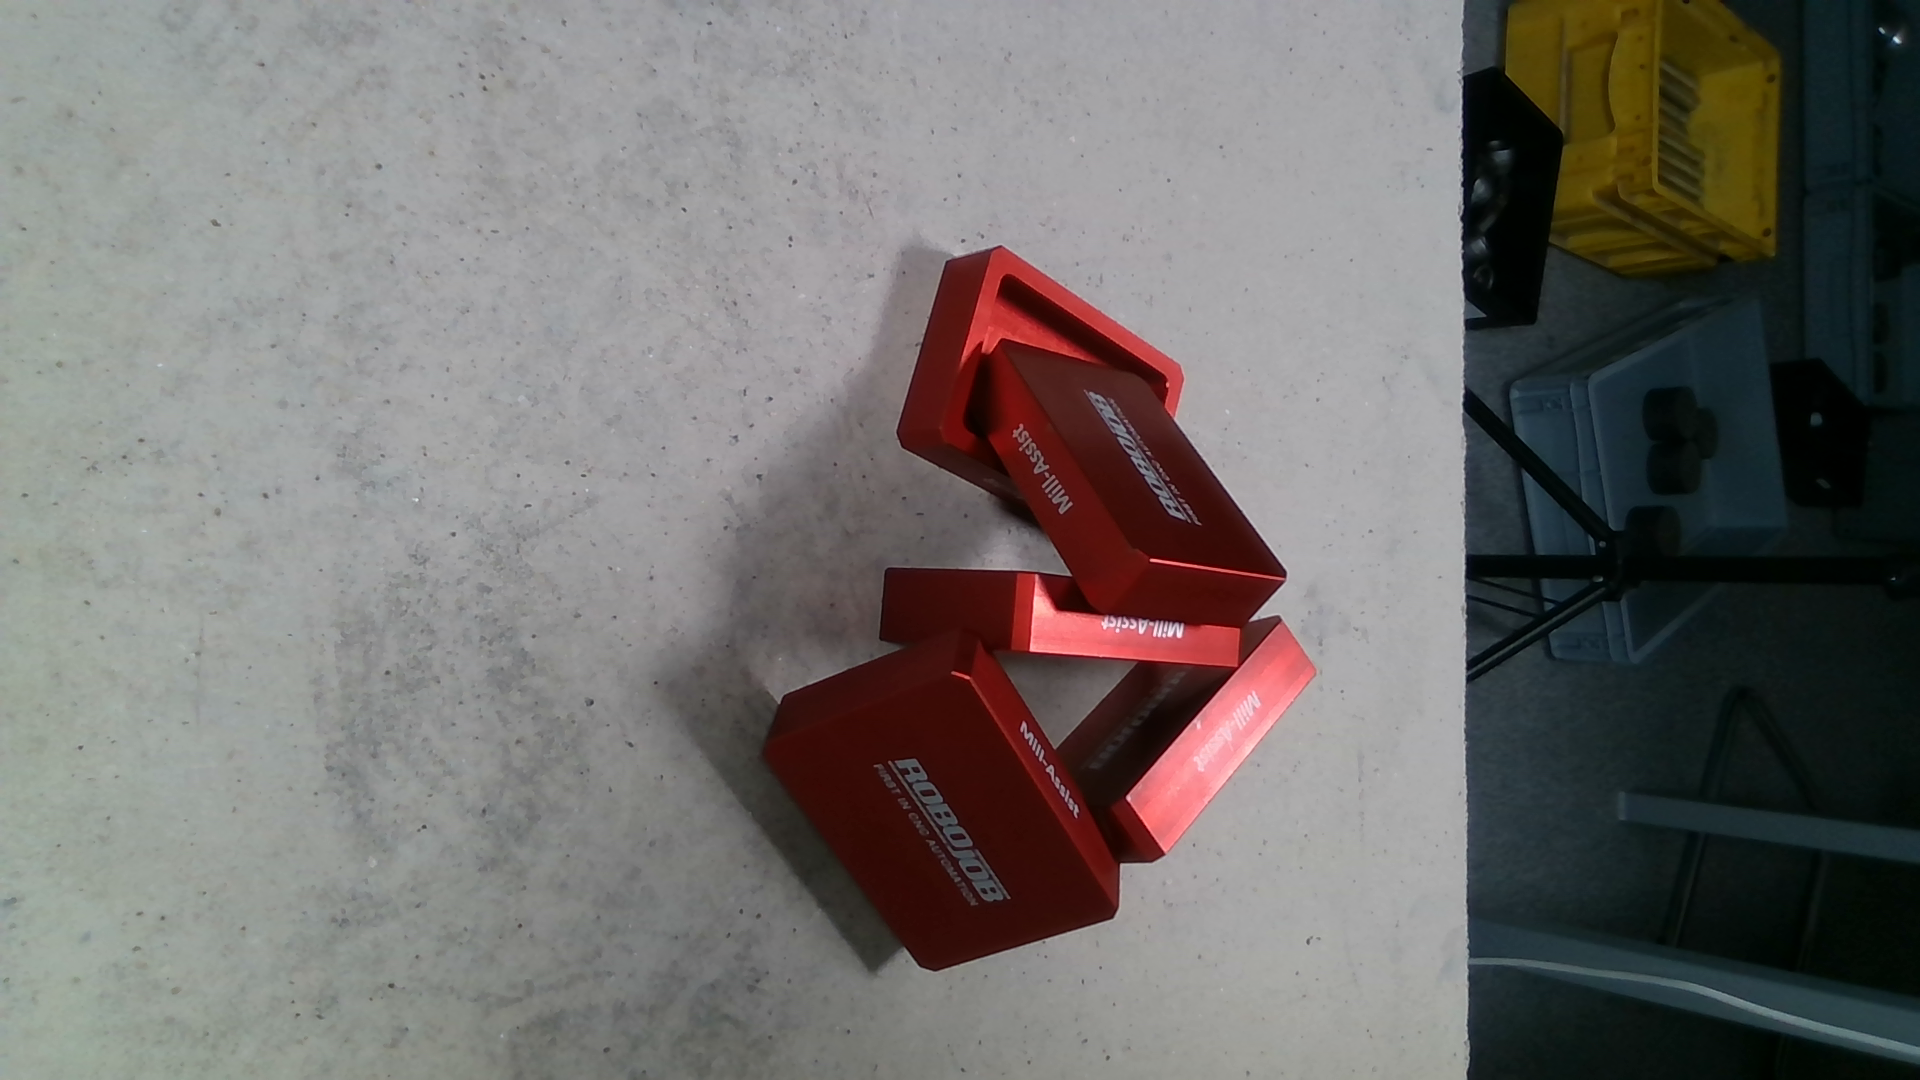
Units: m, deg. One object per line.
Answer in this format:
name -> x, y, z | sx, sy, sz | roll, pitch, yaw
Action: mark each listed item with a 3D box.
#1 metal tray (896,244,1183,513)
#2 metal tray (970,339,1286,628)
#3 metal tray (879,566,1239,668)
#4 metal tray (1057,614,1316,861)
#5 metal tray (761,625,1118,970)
metal tray -> 0.039, -0.061, 0.613 | 0.130, 0.030, 0.090 | 25, 74, -37
metal tray -> 0.066, -0.024, 0.565 | 0.090, 0.030, 0.130 | 8, 40, -40
metal tray -> 0.043, 0.033, 0.578 | 0.130, 0.090, 0.030 | 8, 85, -39
metal tray -> 0.088, 0.089, 0.612 | 0.130, 0.090, 0.030 | -41, 101, -33
metal tray -> -0.005, 0.104, 0.536 | 0.130, 0.090, 0.030 | 58, 22, -24
